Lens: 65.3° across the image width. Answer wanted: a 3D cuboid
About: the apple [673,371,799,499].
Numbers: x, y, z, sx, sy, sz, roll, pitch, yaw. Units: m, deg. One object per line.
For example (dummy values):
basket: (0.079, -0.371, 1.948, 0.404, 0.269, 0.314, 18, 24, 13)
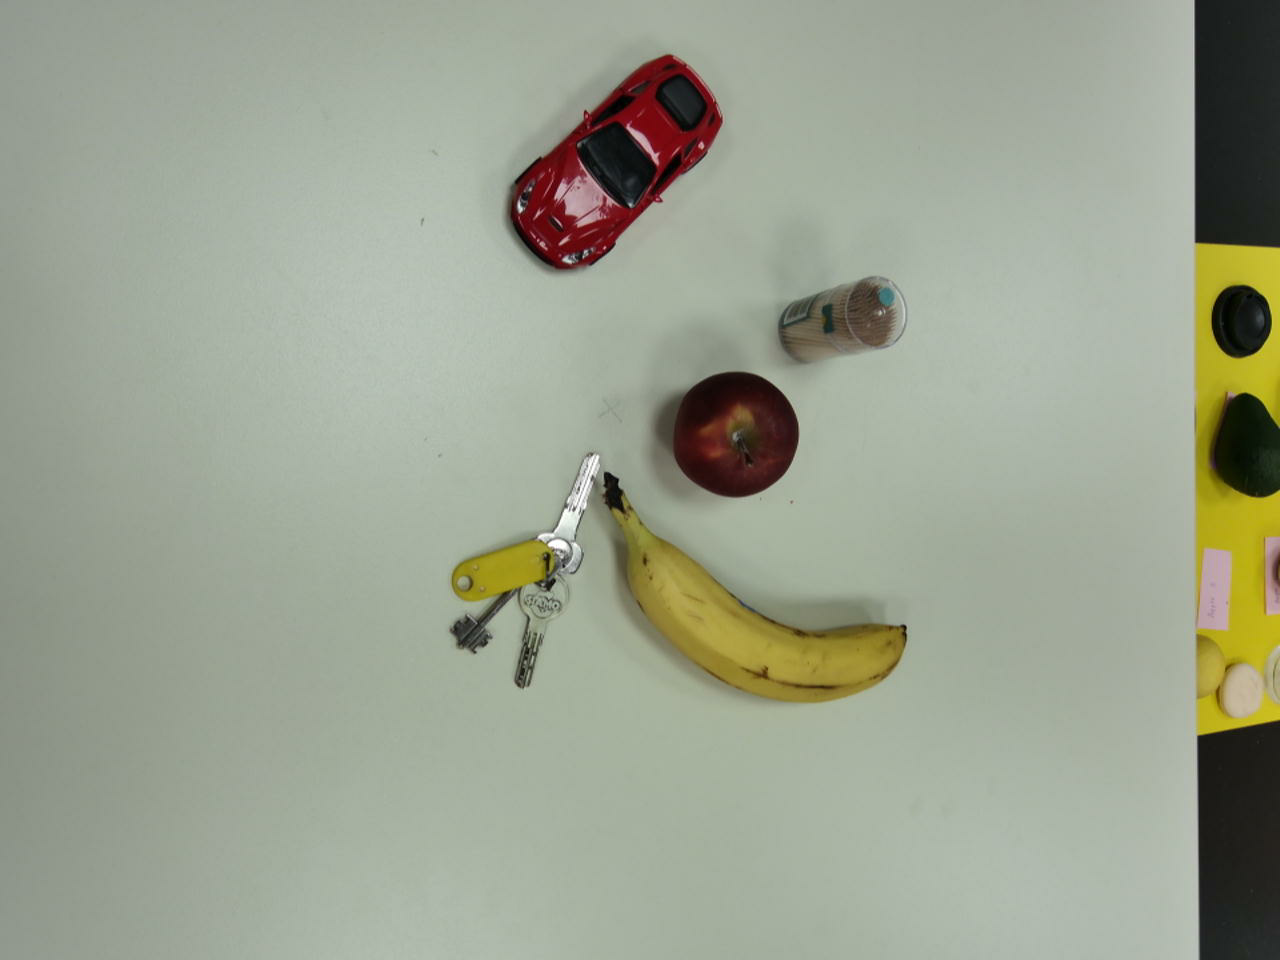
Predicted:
apple: (0.052, -0.025, 0.552, 0.070, 0.072, 0.070, 0, 90, -22)
